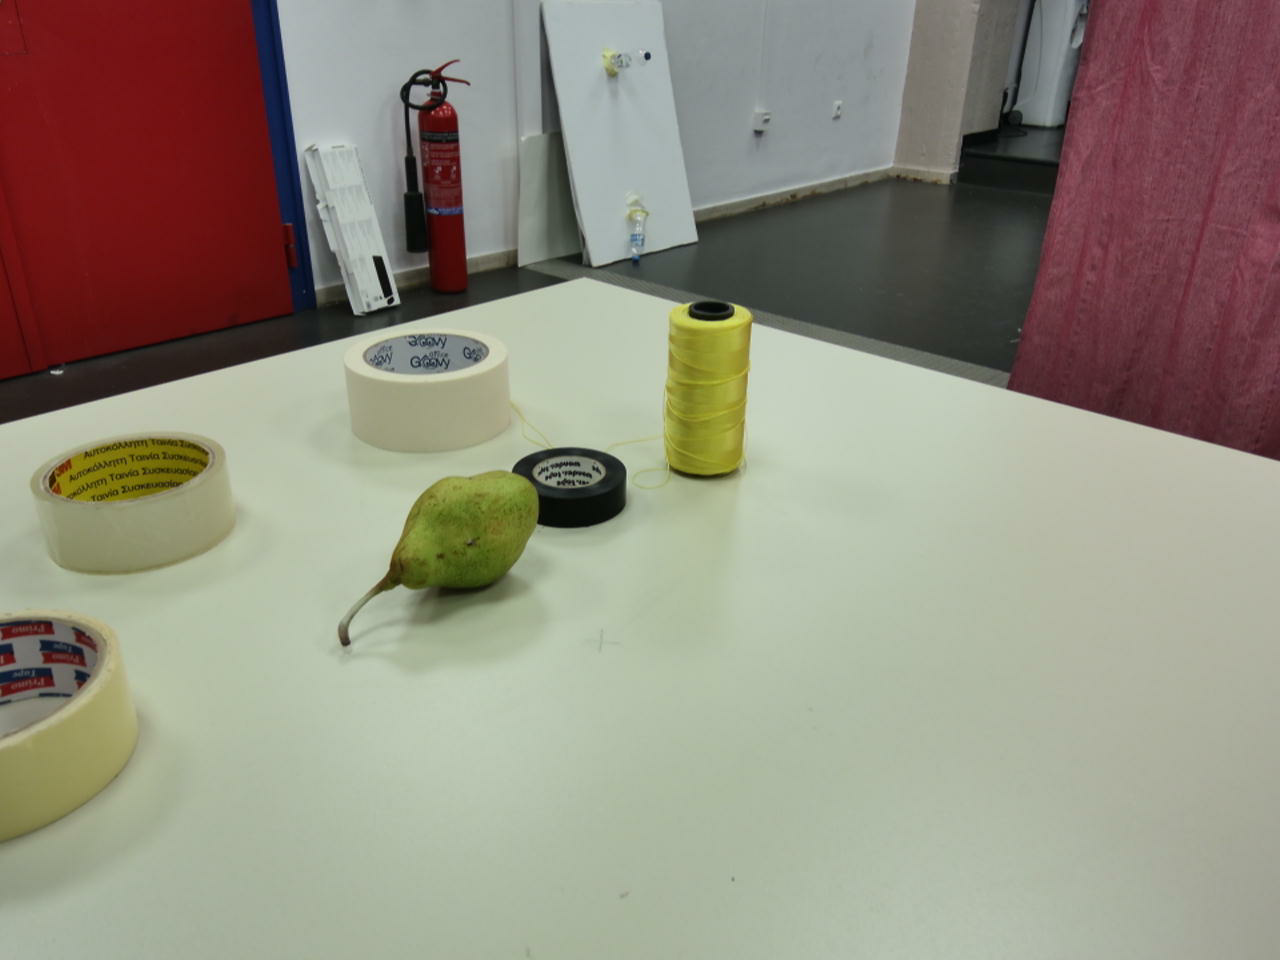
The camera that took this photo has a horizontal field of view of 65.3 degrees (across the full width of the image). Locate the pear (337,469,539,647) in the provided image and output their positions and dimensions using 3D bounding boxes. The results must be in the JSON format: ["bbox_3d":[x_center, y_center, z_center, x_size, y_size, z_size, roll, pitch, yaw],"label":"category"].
[{"bbox_3d":[-0.100,0.029,0.478,0.111,0.056,0.056,-15,29,-31],"label":"pear"}]
